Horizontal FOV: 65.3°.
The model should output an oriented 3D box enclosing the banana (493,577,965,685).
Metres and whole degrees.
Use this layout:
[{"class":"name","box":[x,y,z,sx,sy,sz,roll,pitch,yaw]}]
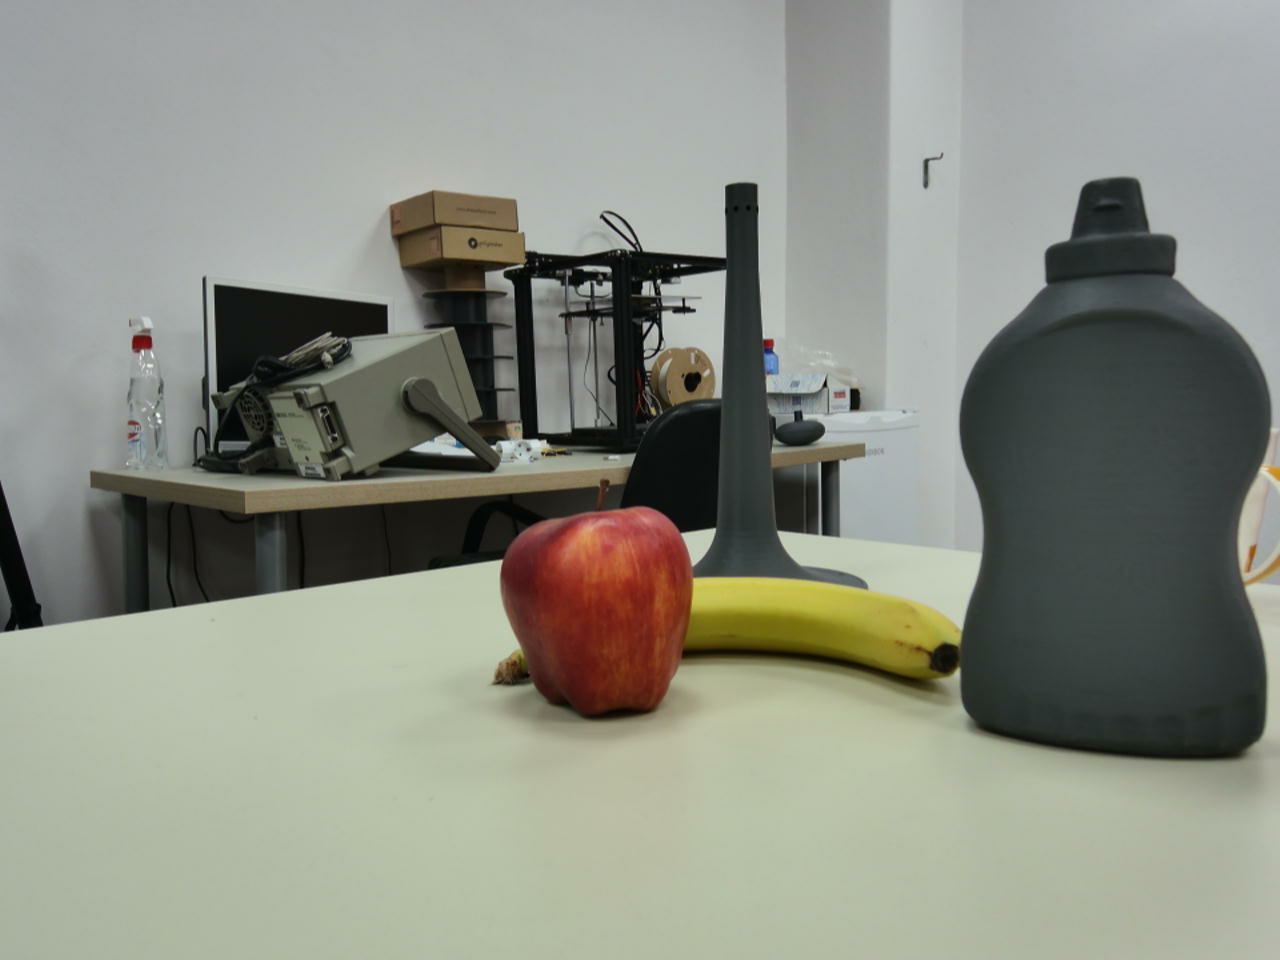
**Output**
[{"class":"banana","box":[0.041,0.068,0.463,0.196,0.041,0.094,1,3,14]}]
